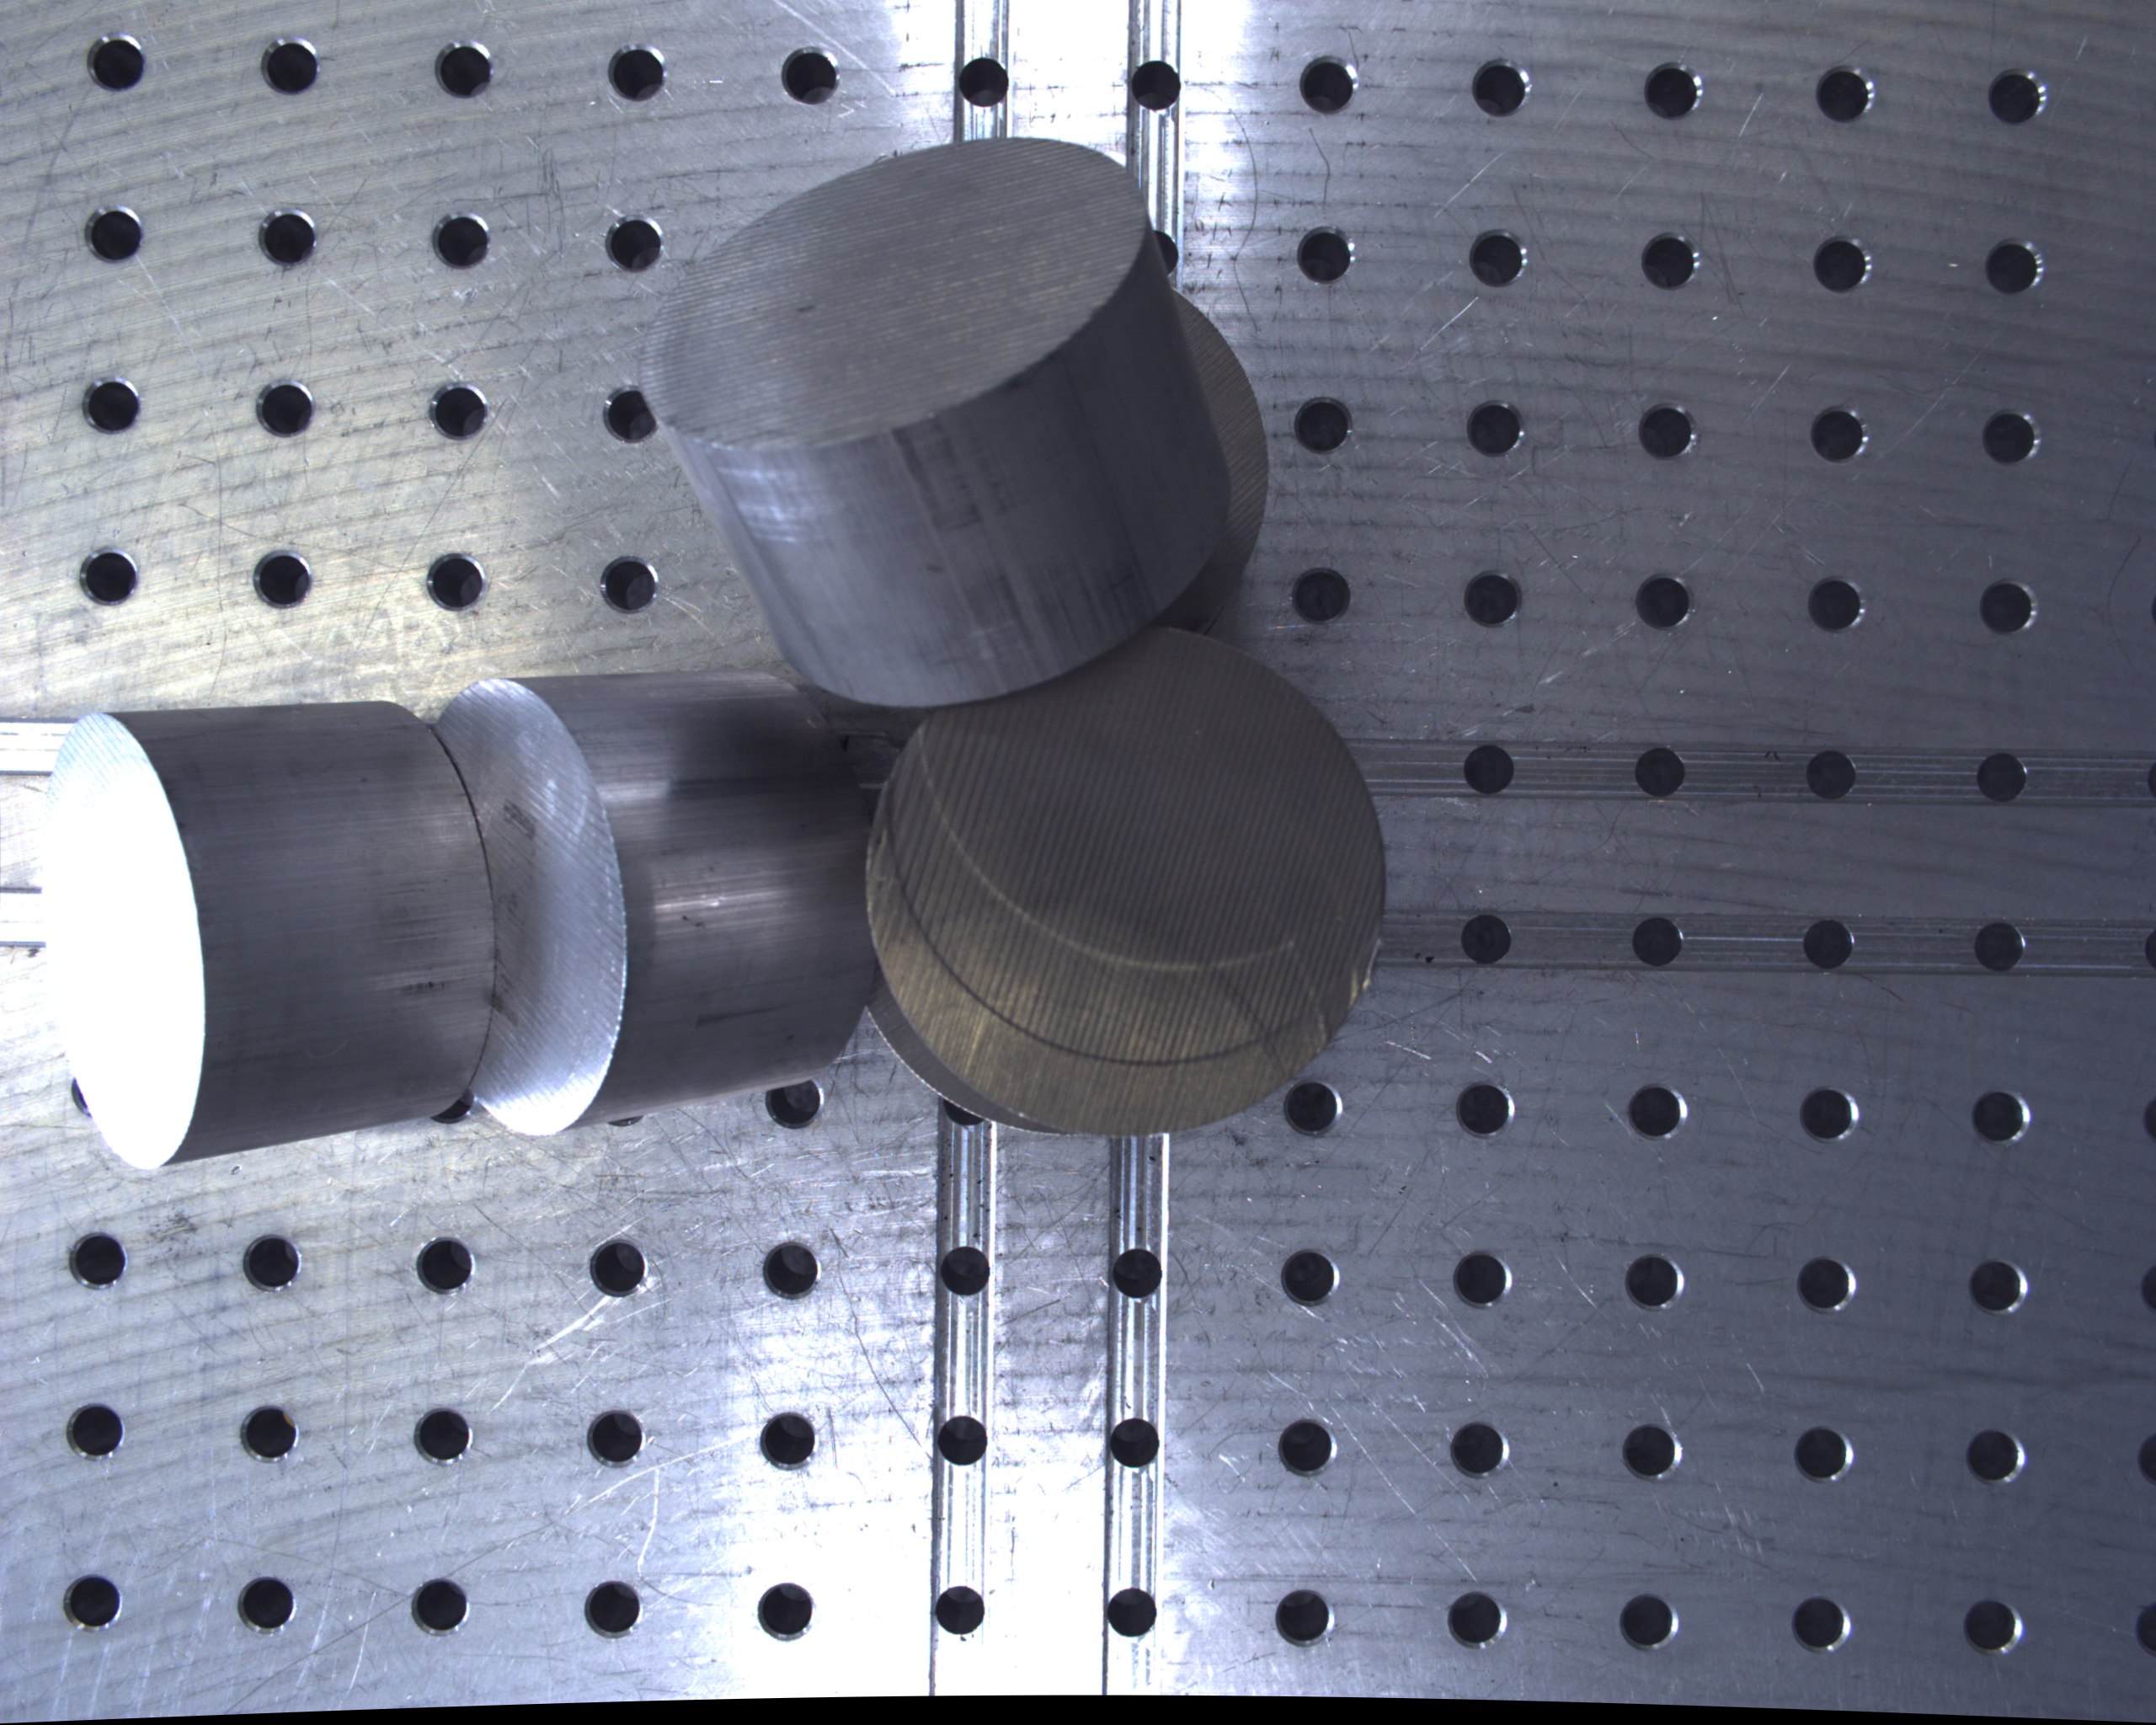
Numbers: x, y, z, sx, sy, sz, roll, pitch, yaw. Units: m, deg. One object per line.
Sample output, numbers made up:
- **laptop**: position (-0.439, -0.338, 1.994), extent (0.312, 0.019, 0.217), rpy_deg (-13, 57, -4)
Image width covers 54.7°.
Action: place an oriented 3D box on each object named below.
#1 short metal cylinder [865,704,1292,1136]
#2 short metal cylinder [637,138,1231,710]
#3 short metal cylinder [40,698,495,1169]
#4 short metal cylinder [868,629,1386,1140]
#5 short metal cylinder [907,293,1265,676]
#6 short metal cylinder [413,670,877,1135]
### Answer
- **short metal cylinder**: position (-0.002, 0.009, 0.400), extent (0.081, 0.050, 0.079), rpy_deg (0, 90, 0)
- **short metal cylinder**: position (-0.021, -0.070, 0.329), extent (0.080, 0.080, 0.050), rpy_deg (-24, 133, 0)
- **short metal cylinder**: position (-0.148, 0.011, 0.378), extent (0.050, 0.080, 0.080), rpy_deg (-8, 90, -42)
- **short metal cylinder**: position (0.008, 0.003, 0.349), extent (0.081, 0.050, 0.079), rpy_deg (0, 90, 0)
- **short metal cylinder**: position (-0.006, -0.071, 0.400), extent (0.081, 0.050, 0.079), rpy_deg (0, 90, 0)
- **short metal cylinder**: position (-0.080, 0.005, 0.378), extent (0.050, 0.080, 0.080), rpy_deg (-7, 90, -42)
